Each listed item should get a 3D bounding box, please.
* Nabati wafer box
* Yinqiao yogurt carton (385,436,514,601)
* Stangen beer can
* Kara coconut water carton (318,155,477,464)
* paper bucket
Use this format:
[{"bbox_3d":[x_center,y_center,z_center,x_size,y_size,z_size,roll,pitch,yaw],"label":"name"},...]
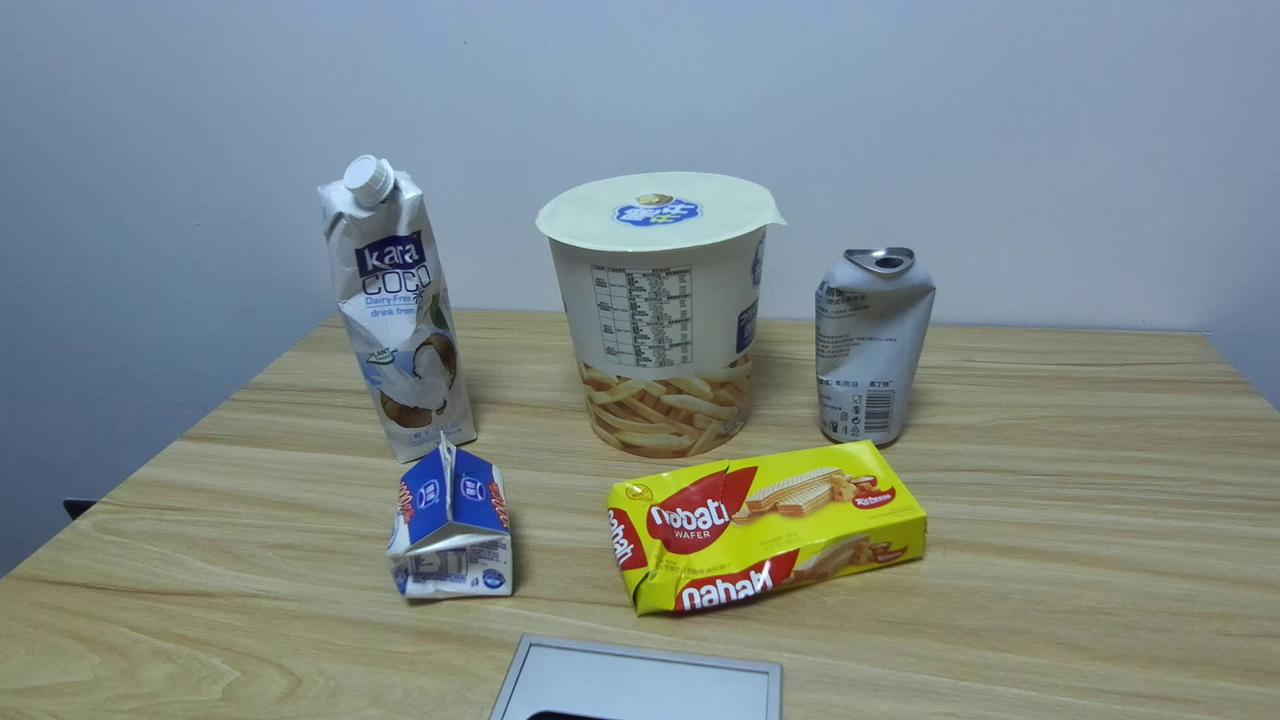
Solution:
[{"bbox_3d":[0.084,0.115,0.490,0.204,0.042,0.106,-8,28,-7],"label":"Nabati wafer box"},{"bbox_3d":[-0.129,0.106,0.474,0.080,0.097,0.074,-5,31,-15],"label":"Yinqiao yogurt carton"},{"bbox_3d":[0.184,-0.009,0.564,0.077,0.162,0.065,-25,37,-31],"label":"Stangen beer can"},{"bbox_3d":[-0.197,-0.040,0.575,0.083,0.256,0.078,-10,33,-11],"label":"Kara coconut water carton"},{"bbox_3d":[0.020,-0.039,0.602,0.198,0.195,0.198,-3,31,2],"label":"paper bucket"}]
